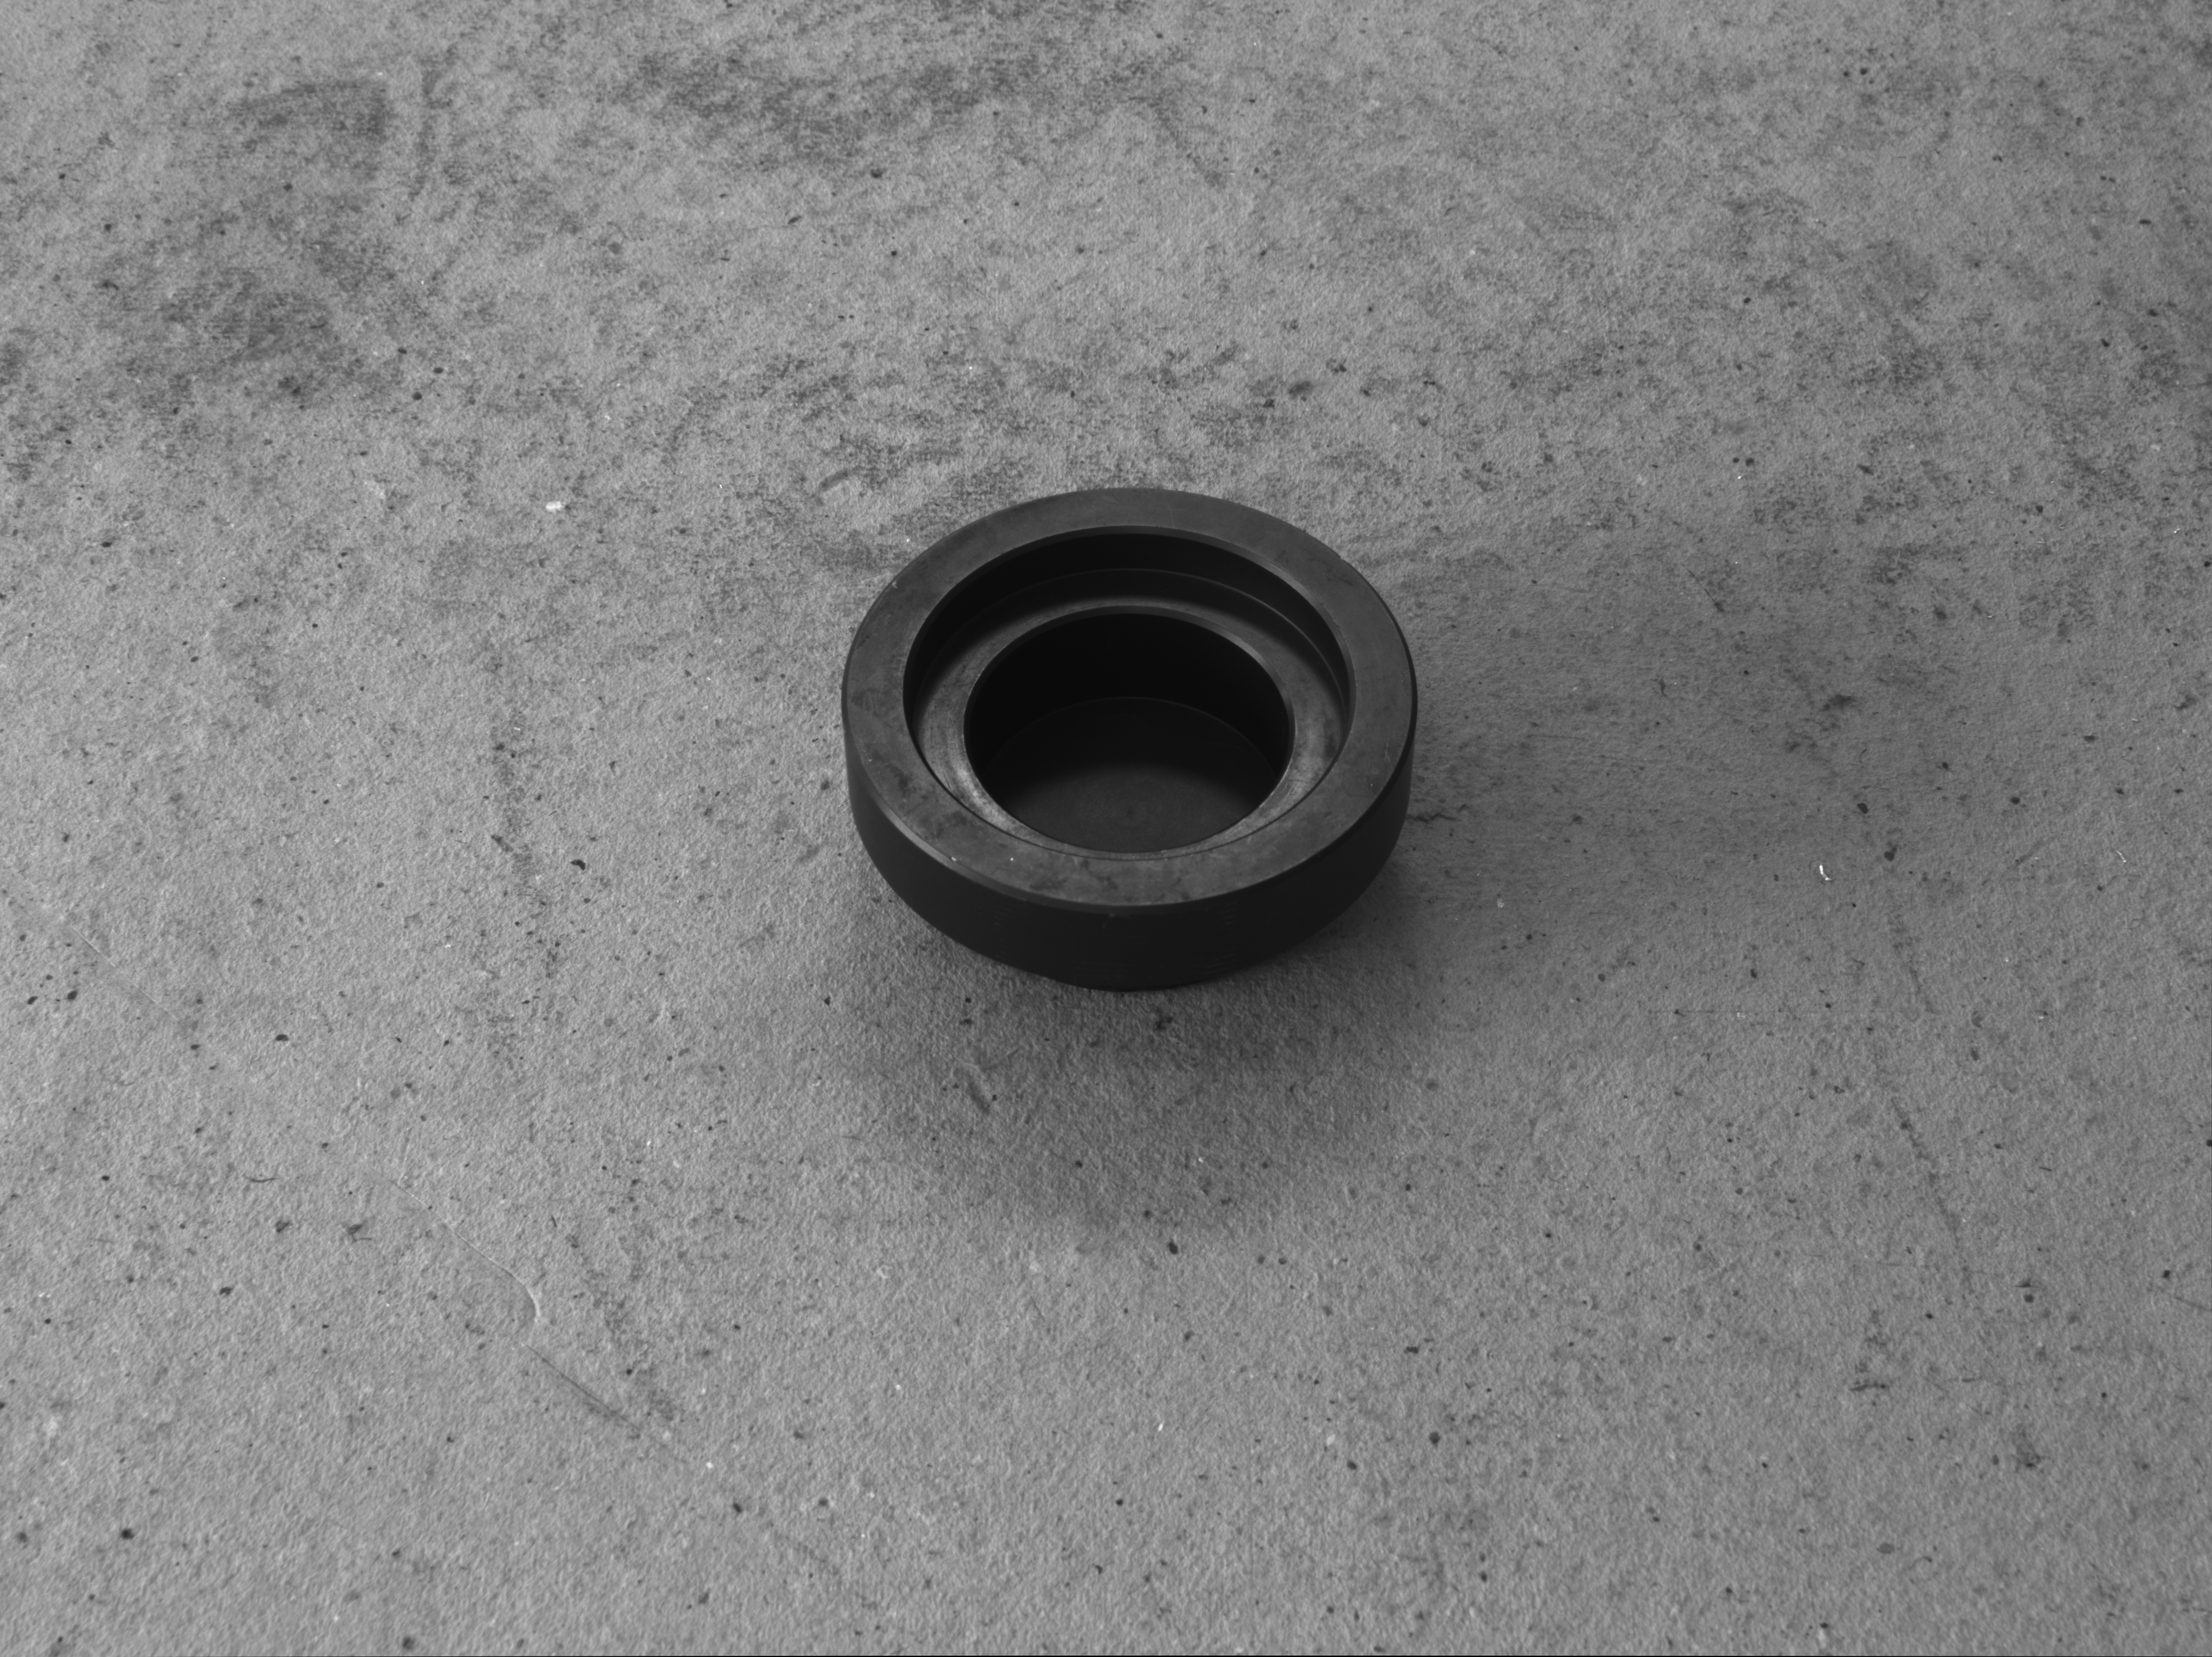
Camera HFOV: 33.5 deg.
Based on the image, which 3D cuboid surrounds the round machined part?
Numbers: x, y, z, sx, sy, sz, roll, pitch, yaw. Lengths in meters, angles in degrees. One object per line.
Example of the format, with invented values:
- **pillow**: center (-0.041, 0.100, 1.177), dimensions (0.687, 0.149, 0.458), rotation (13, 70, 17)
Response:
- **round machined part**: center (0.004, -0.010, 0.641), dimensions (0.098, 0.042, 0.098), rotation (0, 50, 0)
